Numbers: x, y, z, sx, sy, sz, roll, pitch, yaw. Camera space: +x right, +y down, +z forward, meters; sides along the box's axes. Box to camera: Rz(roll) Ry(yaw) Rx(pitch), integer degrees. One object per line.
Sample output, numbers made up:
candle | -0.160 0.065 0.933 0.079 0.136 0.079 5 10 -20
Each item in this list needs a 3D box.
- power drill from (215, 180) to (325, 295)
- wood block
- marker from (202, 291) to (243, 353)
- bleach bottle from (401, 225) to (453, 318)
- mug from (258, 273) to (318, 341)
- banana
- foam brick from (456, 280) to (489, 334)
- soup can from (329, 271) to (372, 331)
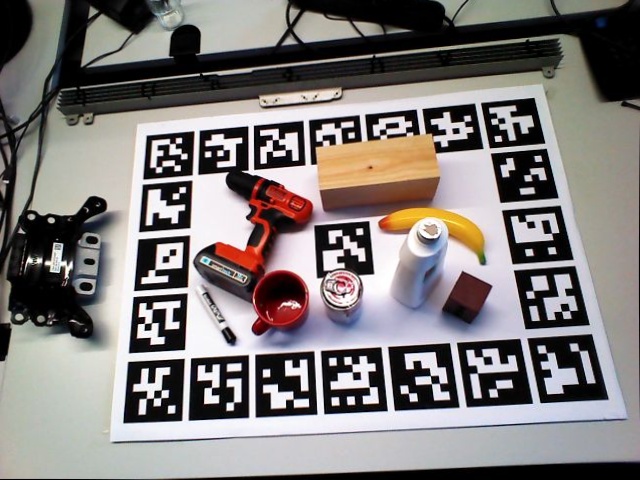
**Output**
power drill | -0.107 -0.007 0.926 0.185 0.057 0.186 24 72 11
wood block | 0.122 -0.106 0.919 0.207 0.091 0.089 -5 69 4
marker | -0.167 0.142 0.891 0.019 0.020 0.121 -33 70 -5
bleach bottle | 0.168 0.037 0.769 0.068 0.251 0.102 24 71 15
mug | -0.055 0.118 0.851 0.093 0.081 0.117 38 80 16
banana | 0.208 -0.022 0.899 0.198 0.039 0.074 11 84 8
foam brick | 0.257 0.107 0.826 0.053 0.078 0.051 28 72 18
soup can | 0.051 0.100 0.830 0.068 0.102 0.067 -2 64 4
